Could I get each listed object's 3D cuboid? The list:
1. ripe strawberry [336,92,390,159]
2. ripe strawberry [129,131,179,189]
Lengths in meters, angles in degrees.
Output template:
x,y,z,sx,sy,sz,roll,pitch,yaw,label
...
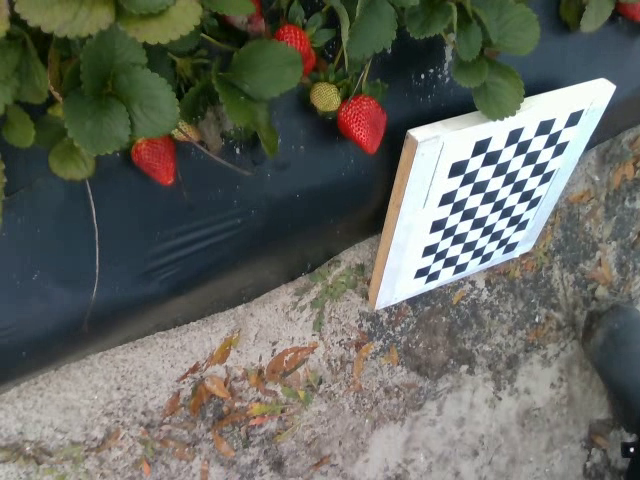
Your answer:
x,y,z,sx,sy,sz,roll,pitch,yaw,label
0.043,-0.108,0.591,0.057,0.065,0.056,-26,-29,21,ripe strawberry
-0.137,-0.068,0.514,0.043,0.052,0.041,-26,10,-4,ripe strawberry
